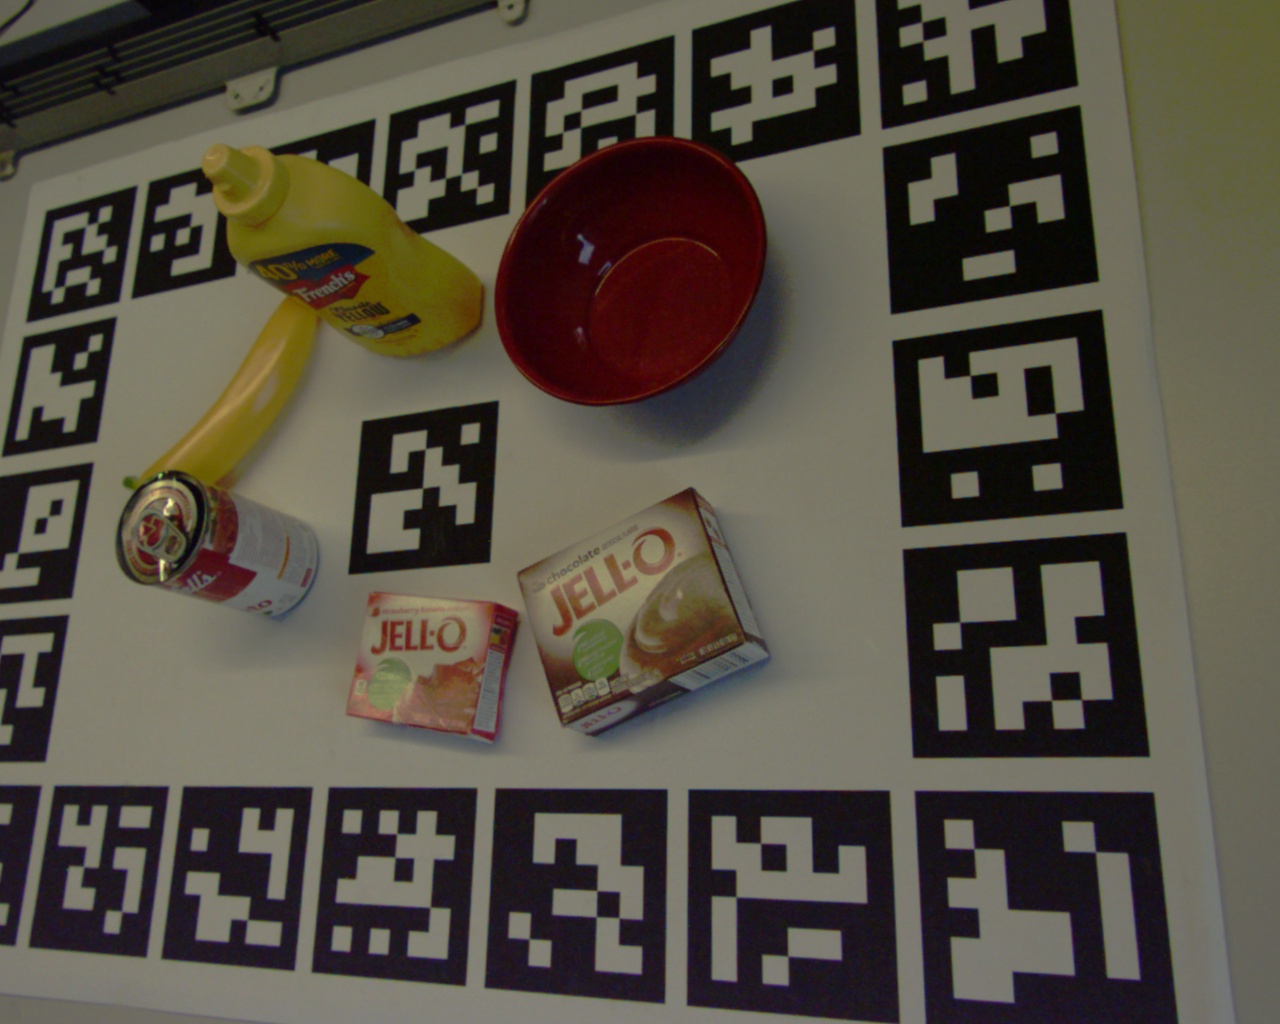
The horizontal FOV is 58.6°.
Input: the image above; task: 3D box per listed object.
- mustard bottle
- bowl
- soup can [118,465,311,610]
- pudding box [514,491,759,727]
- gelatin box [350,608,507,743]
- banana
[{"bbox_3d":[-0.183,-0.151,0.679,0.097,0.189,0.058,-5,70,23],"label":"mustard bottle"},{"bbox_3d":[0.005,-0.128,0.677,0.163,0.054,0.162,-8,71,24],"label":"bowl"},{"bbox_3d":[-0.265,0.019,0.719,0.068,0.101,0.068,-7,70,20],"label":"soup can"},{"bbox_3d":[-0.003,0.055,0.631,0.114,0.038,0.090,-29,70,14],"label":"pudding box"},{"bbox_3d":[-0.127,0.096,0.682,0.090,0.030,0.073,1,78,26],"label":"gelatin box"},{"bbox_3d":[-0.286,-0.075,0.803,0.197,0.038,0.075,-51,51,3],"label":"banana"}]
